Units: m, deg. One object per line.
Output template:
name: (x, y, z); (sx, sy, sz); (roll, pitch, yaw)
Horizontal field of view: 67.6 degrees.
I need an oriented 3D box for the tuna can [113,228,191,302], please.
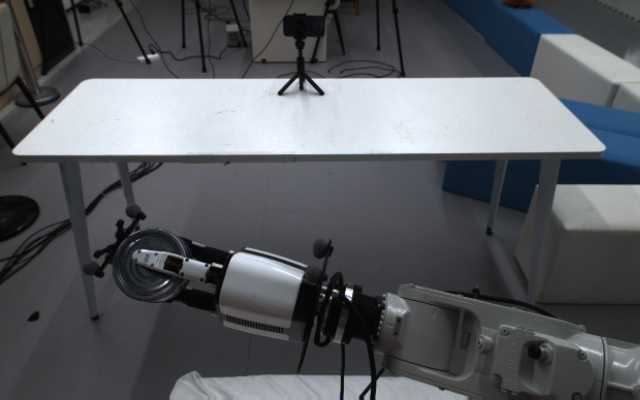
tuna can: (-0.190, 0.080, 0.561); (0.085, 0.034, 0.085); (1, 77, -5)
